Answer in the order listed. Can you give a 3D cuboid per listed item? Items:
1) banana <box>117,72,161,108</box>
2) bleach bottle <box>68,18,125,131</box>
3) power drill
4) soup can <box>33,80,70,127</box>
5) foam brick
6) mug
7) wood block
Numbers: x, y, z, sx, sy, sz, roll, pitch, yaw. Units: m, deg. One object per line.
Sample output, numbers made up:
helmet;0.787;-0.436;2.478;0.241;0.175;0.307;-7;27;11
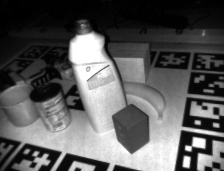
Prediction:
banana;0.054;-0.002;0.588;0.195;0.039;0.074;19;61;29
bleach bottle;-0.029;-0.020;0.461;0.103;0.252;0.067;-34;43;-27
power drill;-0.239;-0.035;0.693;0.188;0.058;0.182;-34;47;-29
soup can;-0.144;0.041;0.522;0.068;0.103;0.067;-5;35;4
foam brick;0.044;0.084;0.458;0.052;0.078;0.052;-29;40;-25
mug;-0.245;0.047;0.562;0.118;0.082;0.092;-27;43;-15
wood block;0.004;-0.081;0.663;0.204;0.092;0.090;5;42;18
